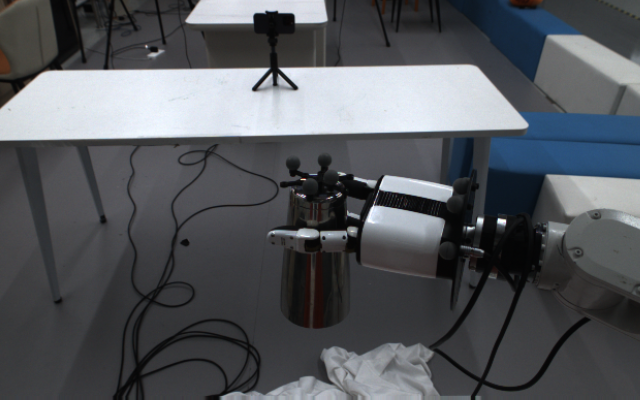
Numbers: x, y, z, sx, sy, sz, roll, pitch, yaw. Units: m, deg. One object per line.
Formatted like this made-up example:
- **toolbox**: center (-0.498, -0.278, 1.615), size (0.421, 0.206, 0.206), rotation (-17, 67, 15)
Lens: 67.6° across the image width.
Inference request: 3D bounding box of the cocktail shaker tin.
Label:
- **cocktail shaker tin**: center (-0.001, 0.059, 0.599), size (0.093, 0.170, 0.093), rotation (1, 27, -1)
